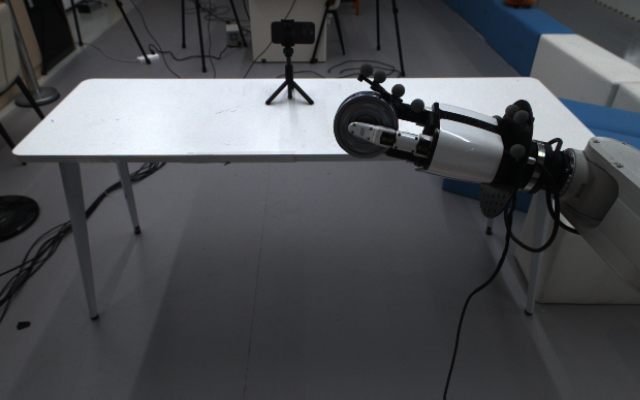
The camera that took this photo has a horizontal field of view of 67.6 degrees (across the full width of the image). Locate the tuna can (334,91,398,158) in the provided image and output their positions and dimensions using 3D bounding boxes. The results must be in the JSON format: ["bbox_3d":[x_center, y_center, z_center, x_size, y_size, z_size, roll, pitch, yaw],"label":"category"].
[{"bbox_3d":[0.064,-0.093,0.638,0.085,0.085,0.034,7,19,6],"label":"tuna can"}]
